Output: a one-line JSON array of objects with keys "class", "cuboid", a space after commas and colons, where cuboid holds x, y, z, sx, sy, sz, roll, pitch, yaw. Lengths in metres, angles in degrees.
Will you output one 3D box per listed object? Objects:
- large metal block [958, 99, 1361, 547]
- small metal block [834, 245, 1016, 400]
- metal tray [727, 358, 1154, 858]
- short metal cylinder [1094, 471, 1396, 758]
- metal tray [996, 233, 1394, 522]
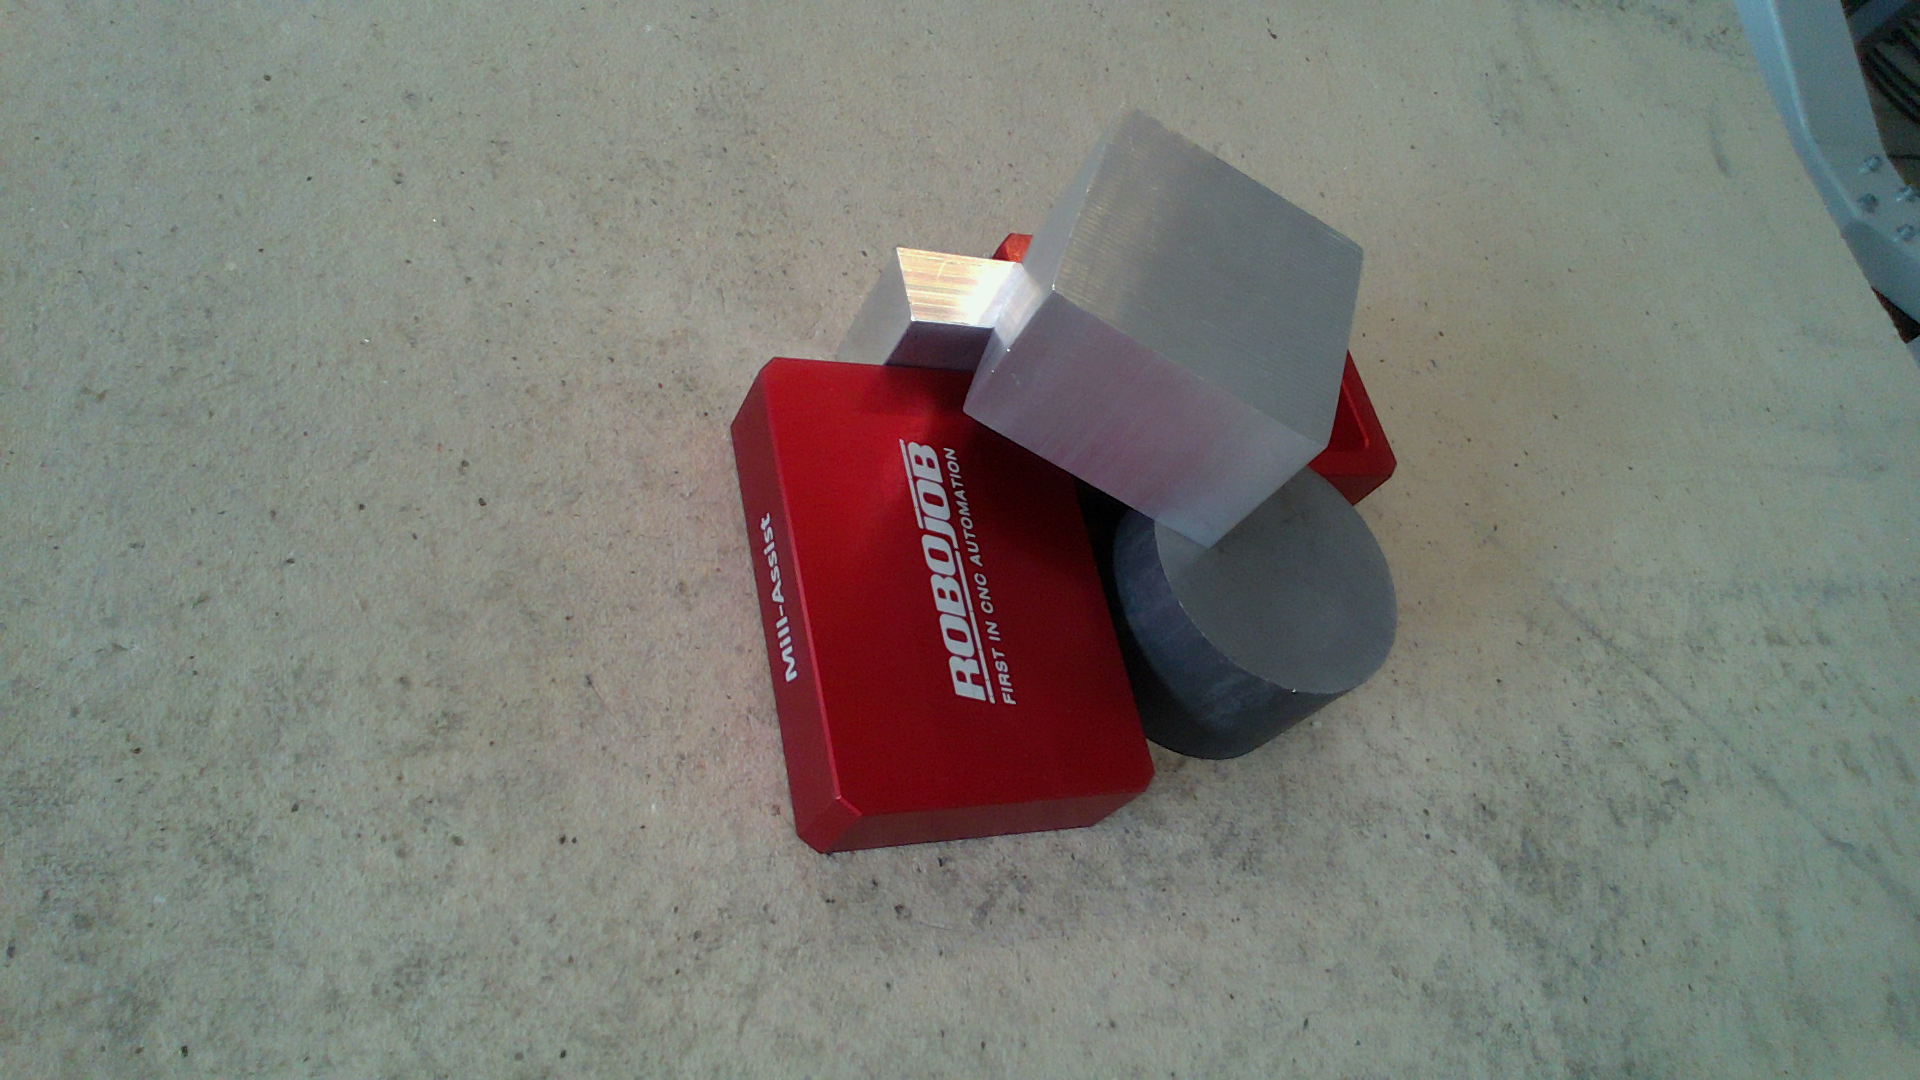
[{"class": "large metal block", "cuboid": [0.056, -0.059, 0.374, 0.080, 0.050, 0.080, 29, 52, -10]}, {"class": "small metal block", "cuboid": [-0.004, -0.059, 0.408, 0.050, 0.050, 0.025, 1, 61, -28]}, {"class": "metal tray", "cuboid": [-0.008, 0.015, 0.374, 0.090, 0.030, 0.130, 1, 61, -28]}, {"class": "short metal cylinder", "cuboid": [0.079, 0.018, 0.405, 0.080, 0.050, 0.080, 13, 56, -20]}, {"class": "metal tray", "cuboid": [0.074, -0.053, 0.458, 0.130, 0.030, 0.090, -2, 62, -29]}]
